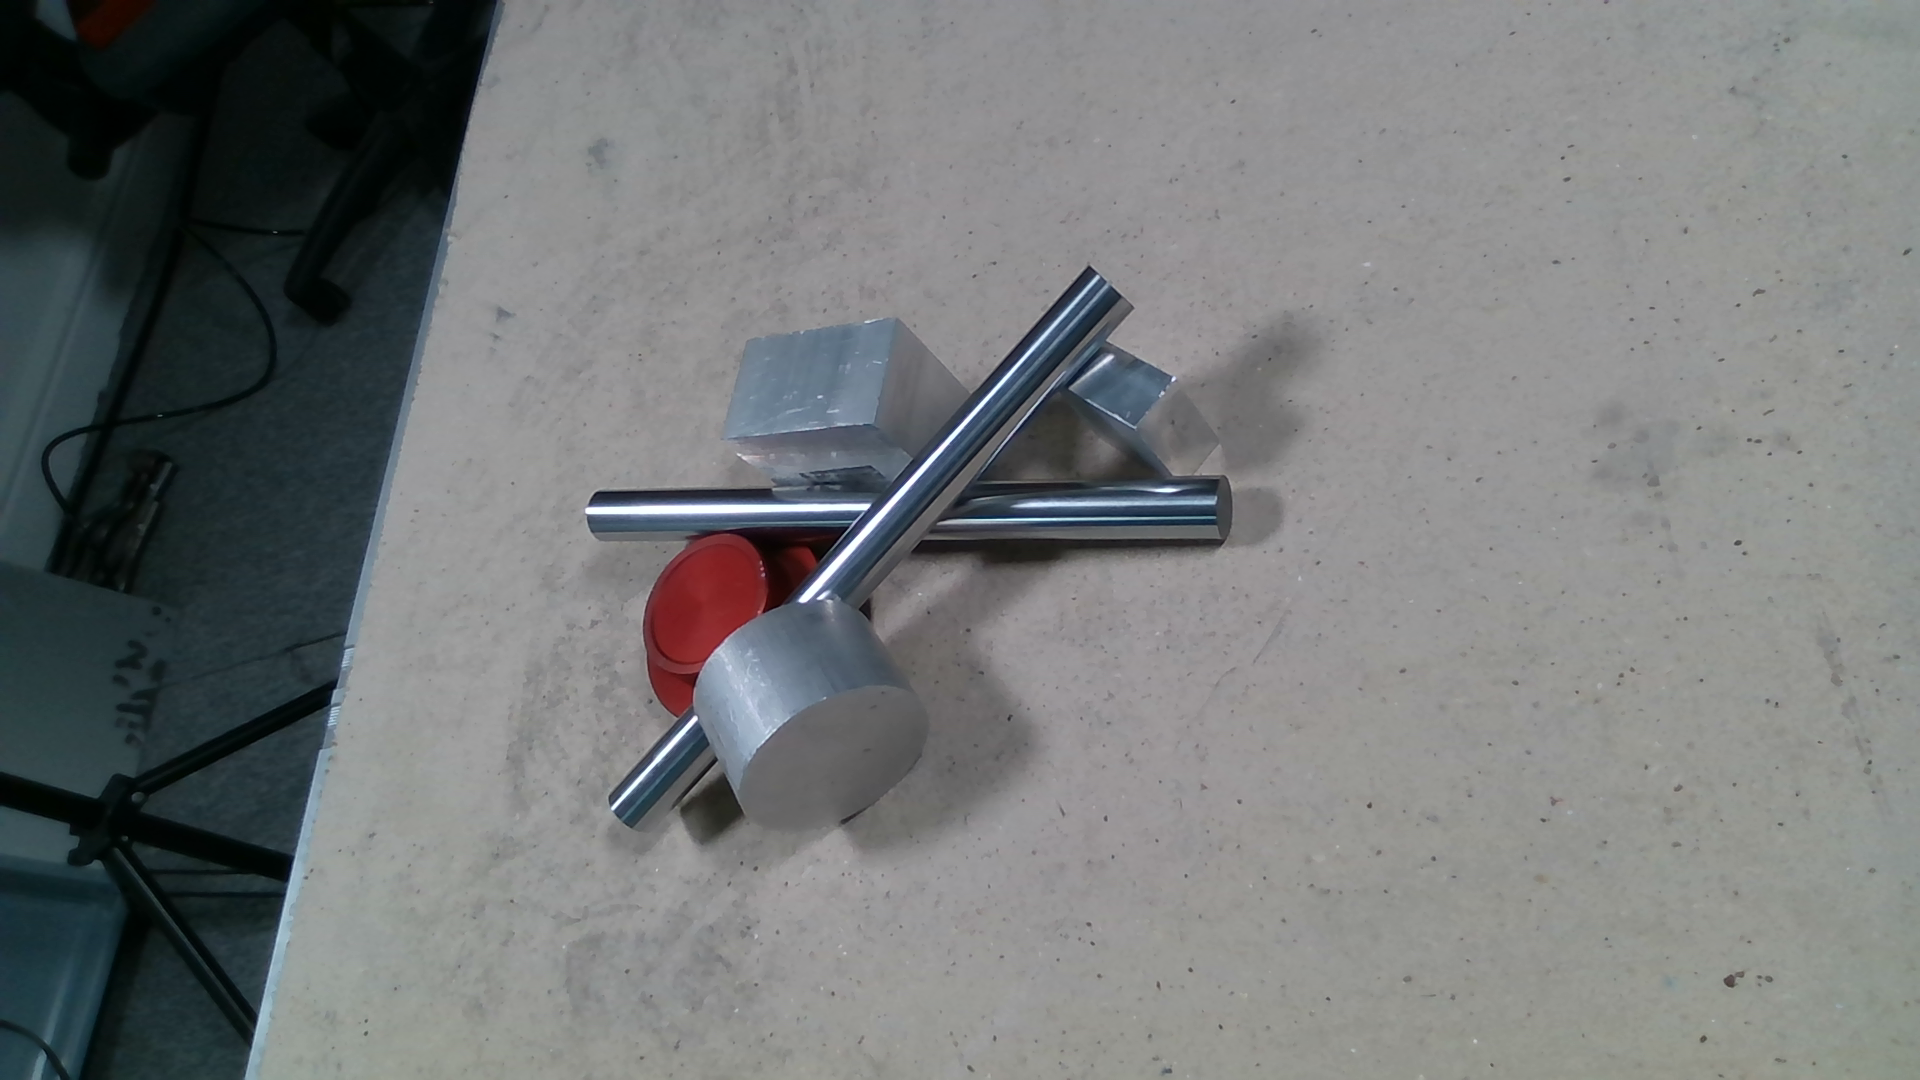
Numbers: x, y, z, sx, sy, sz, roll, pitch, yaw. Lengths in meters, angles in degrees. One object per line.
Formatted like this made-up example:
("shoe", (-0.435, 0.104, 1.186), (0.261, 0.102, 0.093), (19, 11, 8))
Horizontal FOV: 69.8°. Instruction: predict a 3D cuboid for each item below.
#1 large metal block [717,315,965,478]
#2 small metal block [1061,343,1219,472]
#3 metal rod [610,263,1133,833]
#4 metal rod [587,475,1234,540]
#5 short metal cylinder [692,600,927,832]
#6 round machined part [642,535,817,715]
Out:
("large metal block", (-0.045, -0.051, 0.606), (0.080, 0.080, 0.050), (-3, 64, 30))
("small metal block", (0.070, -0.053, 0.554), (0.050, 0.050, 0.025), (37, 87, 39))
("metal rod", (-0.042, 0.010, 0.562), (0.300, 0.025, 0.025), (-47, 50, 13))
("metal rod", (-0.034, -0.012, 0.593), (0.300, 0.025, 0.025), (0, 65, 25))
("short metal cylinder", (-0.060, 0.071, 0.551), (0.080, 0.080, 0.050), (-42, 51, 6))
("round machined part", (-0.103, 0.037, 0.620), (0.098, 0.042, 0.098), (-14, 59, 25))
